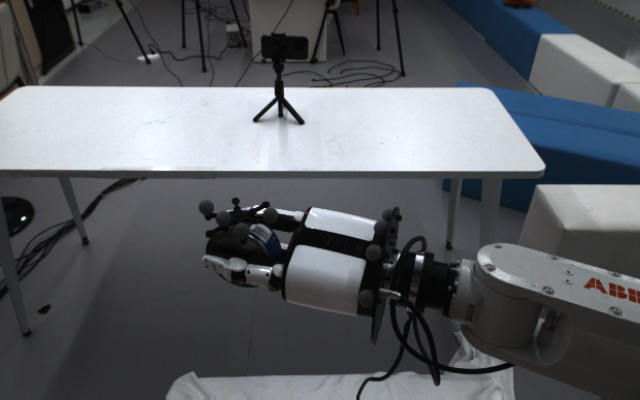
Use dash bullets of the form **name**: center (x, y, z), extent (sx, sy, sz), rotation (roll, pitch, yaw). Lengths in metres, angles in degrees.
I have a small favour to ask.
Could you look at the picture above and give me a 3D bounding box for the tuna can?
- **tuna can**: center (-0.088, 0.062, 0.582), extent (0.085, 0.085, 0.034), rotation (11, 34, 12)
